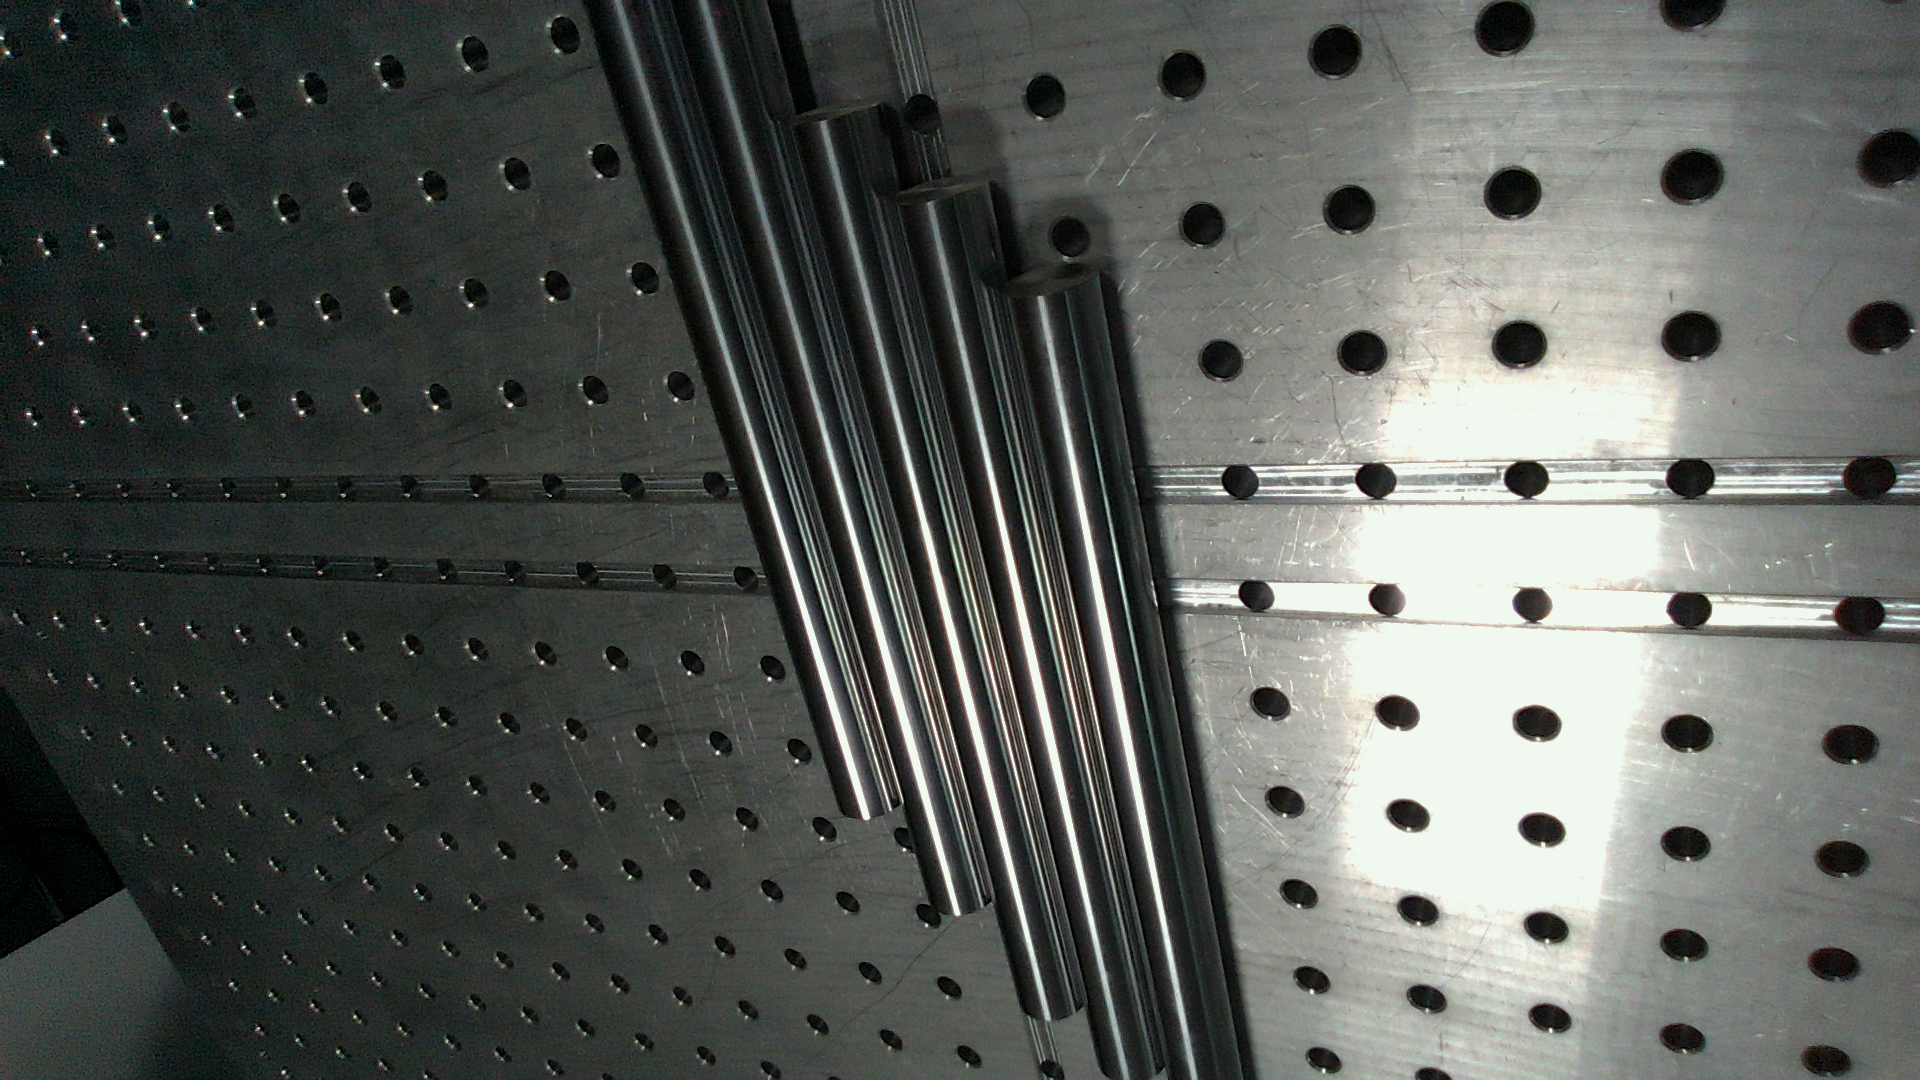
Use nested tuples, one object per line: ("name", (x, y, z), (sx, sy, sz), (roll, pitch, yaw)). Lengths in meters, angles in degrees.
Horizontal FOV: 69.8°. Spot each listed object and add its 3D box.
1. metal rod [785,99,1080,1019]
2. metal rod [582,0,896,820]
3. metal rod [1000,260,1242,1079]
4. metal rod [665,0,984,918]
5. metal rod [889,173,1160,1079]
("metal rod", (0.000, 0.024, 0.410), (0.025, 0.025, 0.300), (1, 119, 28))
("metal rod", (-0.062, -0.045, 0.401), (0.025, 0.025, 0.300), (1, 119, 28))
("metal rod", (0.054, 0.066, 0.407), (0.025, 0.025, 0.300), (1, 119, 28))
("metal rod", (-0.031, -0.012, 0.404), (0.025, 0.025, 0.300), (1, 119, 28))
("metal rod", (0.026, 0.044, 0.408), (0.025, 0.025, 0.300), (1, 119, 28))
